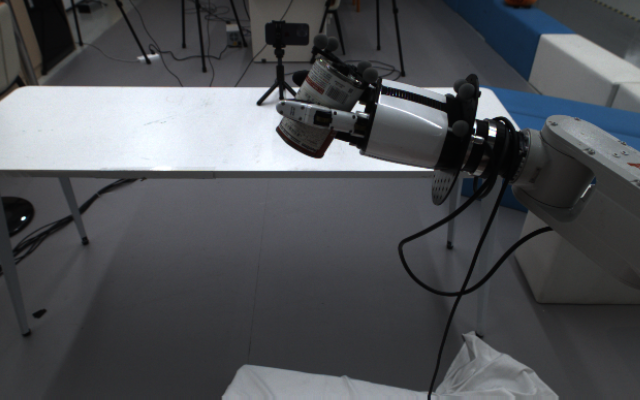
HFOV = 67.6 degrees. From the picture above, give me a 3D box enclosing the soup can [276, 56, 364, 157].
[{"bbox_3d":[0.001,-0.110,0.581,0.067,0.101,0.067,28,22,-12],"label":"soup can"}]
